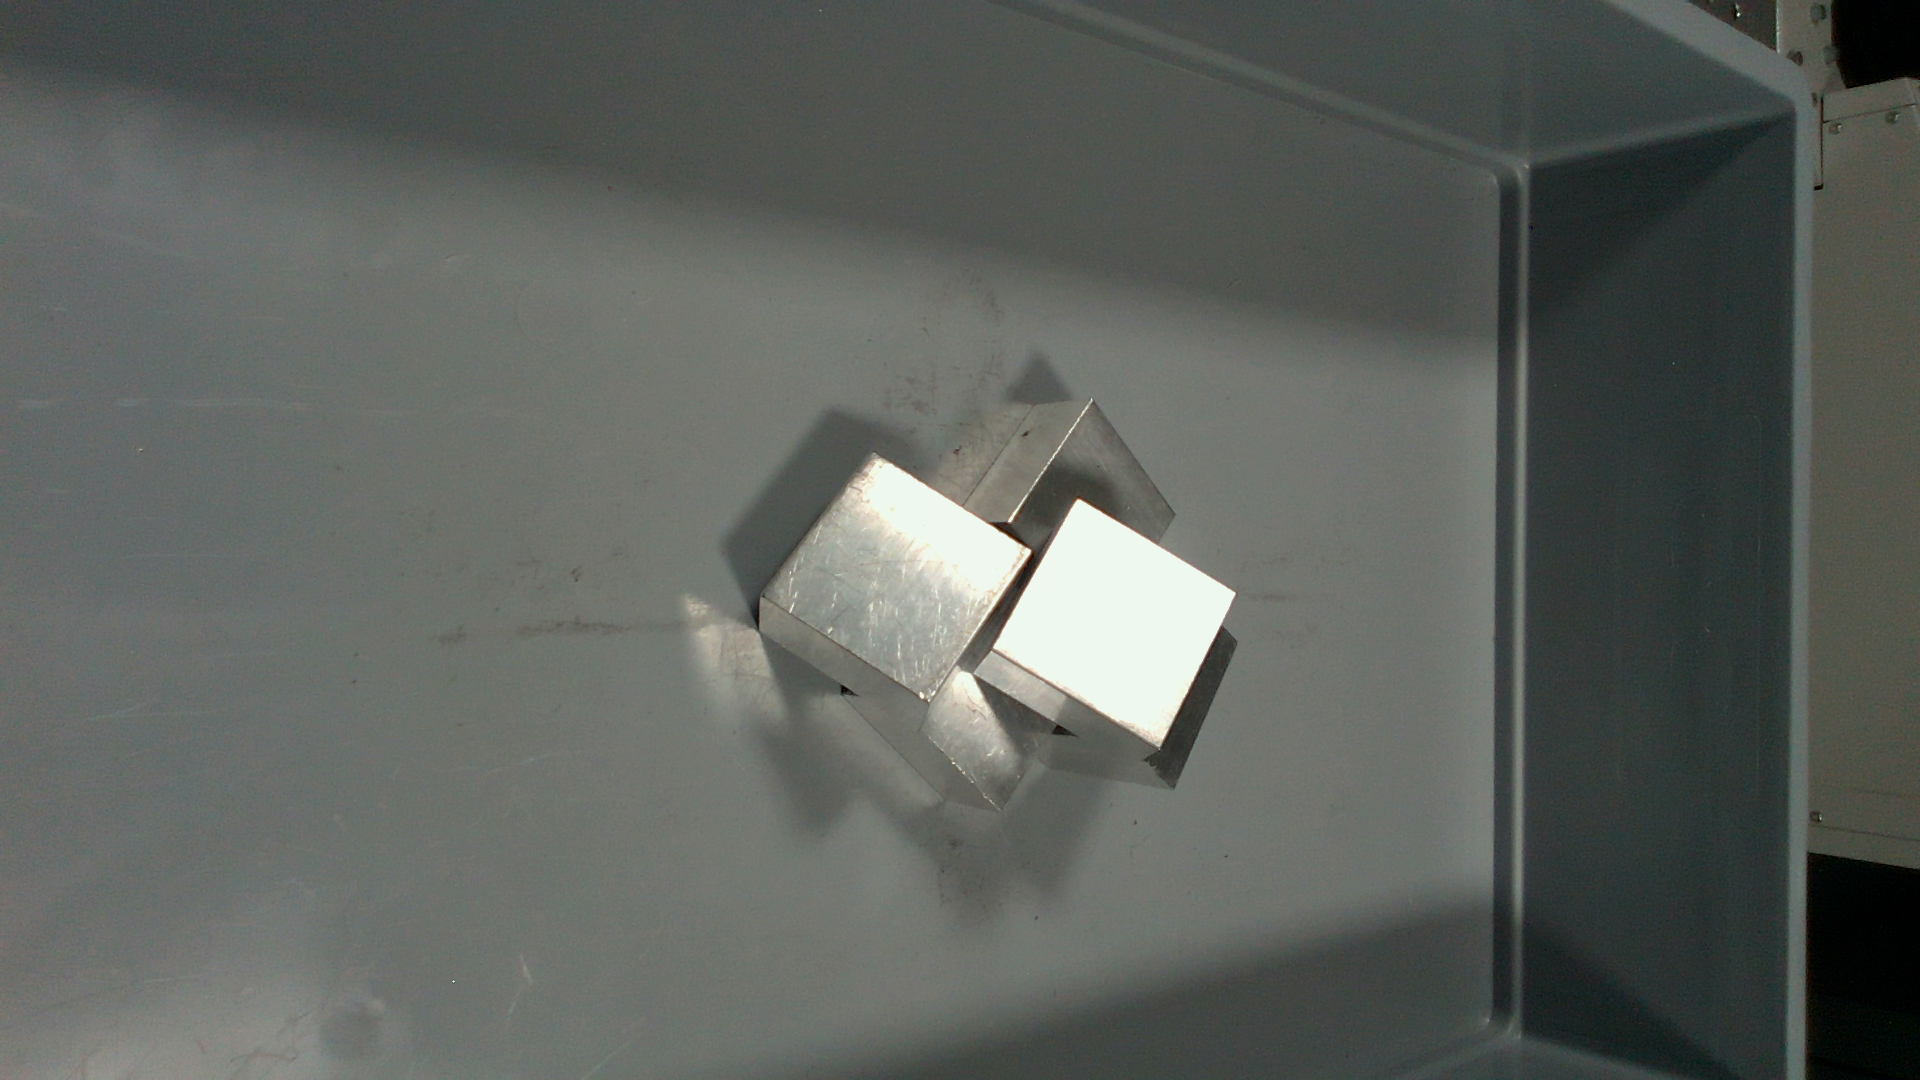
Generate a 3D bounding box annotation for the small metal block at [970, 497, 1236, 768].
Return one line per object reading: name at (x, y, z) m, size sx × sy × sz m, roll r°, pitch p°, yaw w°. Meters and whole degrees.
small metal block at (0.038, 0.025, 0.371) m, size 0.050 × 0.025 × 0.050 m, roll 31°, pitch 67°, yaw 0°

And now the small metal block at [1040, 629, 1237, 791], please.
small metal block at (0.047, 0.043, 0.410) m, size 0.025 × 0.050 × 0.050 m, roll 43°, pitch 64°, yaw -31°

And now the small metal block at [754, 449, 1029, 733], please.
small metal block at (-0.018, 0.013, 0.356) m, size 0.050 × 0.025 × 0.050 m, roll 32°, pitch 65°, yaw 6°

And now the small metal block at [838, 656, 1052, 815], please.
small metal block at (0.002, 0.041, 0.389) m, size 0.050 × 0.025 × 0.050 m, roll 50°, pitch 61°, yaw -28°

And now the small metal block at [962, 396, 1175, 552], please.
small metal block at (0.032, -0.007, 0.413) m, size 0.050 × 0.025 × 0.050 m, roll 50°, pitch 61°, yaw -28°
